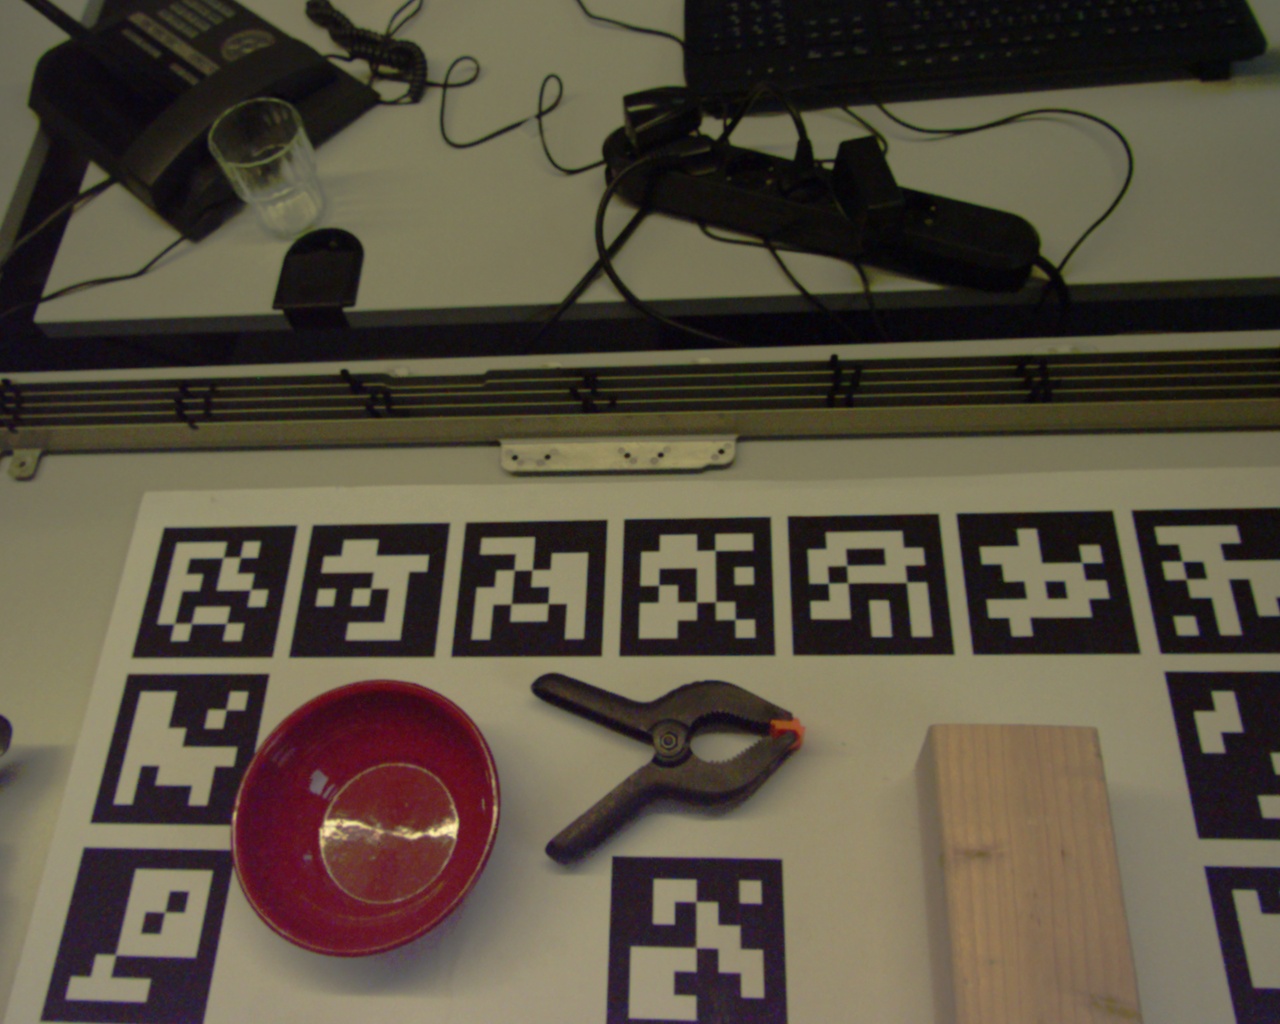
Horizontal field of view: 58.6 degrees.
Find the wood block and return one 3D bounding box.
[{"bbox_3d":[0.207,0.230,0.626,0.090,0.090,0.207,1,62,6],"label":"wood block"}]

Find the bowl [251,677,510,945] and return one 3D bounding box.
[{"bbox_3d":[-0.158,0.190,0.721,0.162,0.055,0.162,-3,64,5],"label":"bowl"}]

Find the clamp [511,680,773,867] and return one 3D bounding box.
[{"bbox_3d":[0.005,0.154,0.732,0.165,0.036,0.122,-10,61,-1],"label":"clamp"}]
